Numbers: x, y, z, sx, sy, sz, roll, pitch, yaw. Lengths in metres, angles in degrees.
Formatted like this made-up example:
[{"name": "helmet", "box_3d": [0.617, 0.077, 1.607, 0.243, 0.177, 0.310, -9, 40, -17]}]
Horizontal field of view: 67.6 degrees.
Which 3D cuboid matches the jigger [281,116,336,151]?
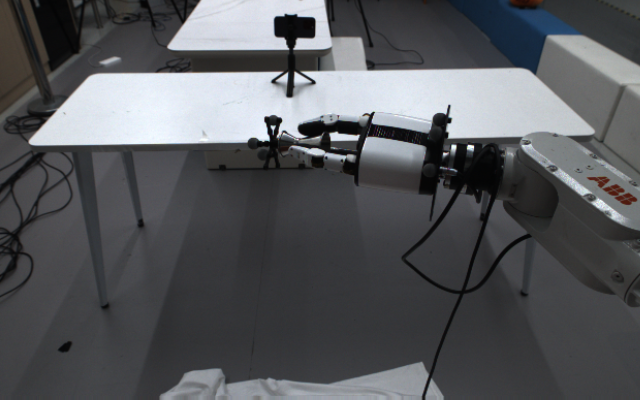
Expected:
[{"name": "jigger", "box_3d": [-0.016, -0.086, 0.710, 0.071, 0.043, 0.043, 5, 34, 20]}]
